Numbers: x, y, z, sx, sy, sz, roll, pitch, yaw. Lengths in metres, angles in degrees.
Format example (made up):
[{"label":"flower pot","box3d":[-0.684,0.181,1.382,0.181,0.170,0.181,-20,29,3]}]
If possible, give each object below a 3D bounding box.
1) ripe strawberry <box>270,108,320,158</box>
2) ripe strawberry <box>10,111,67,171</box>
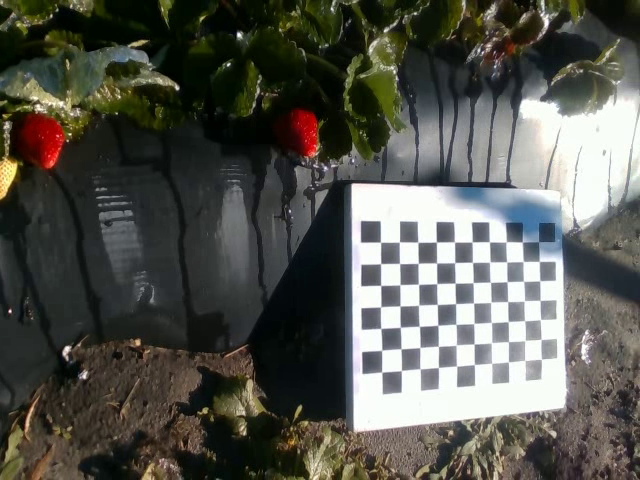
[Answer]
[{"label":"ripe strawberry","box3d":[-0.016,-0.086,0.489,0.041,0.053,0.047,-7,-37,-21]},{"label":"ripe strawberry","box3d":[-0.199,-0.066,0.419,0.037,0.040,0.051,-15,47,-20]}]
